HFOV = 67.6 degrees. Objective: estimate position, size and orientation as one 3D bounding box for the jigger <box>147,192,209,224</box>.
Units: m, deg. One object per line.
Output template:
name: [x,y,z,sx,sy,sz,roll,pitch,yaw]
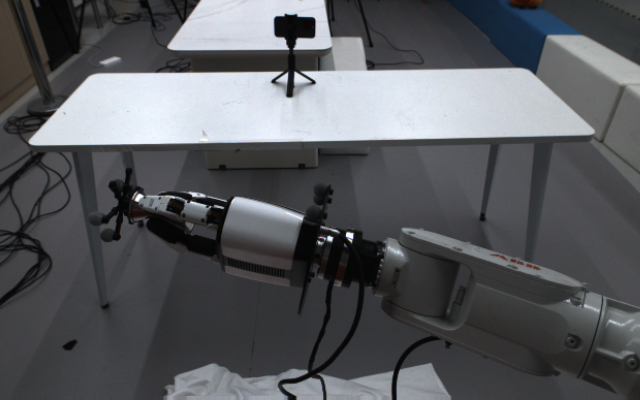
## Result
jigger: [-0.179,0.010,0.578,0.071,0.043,0.043,10,35,2]
